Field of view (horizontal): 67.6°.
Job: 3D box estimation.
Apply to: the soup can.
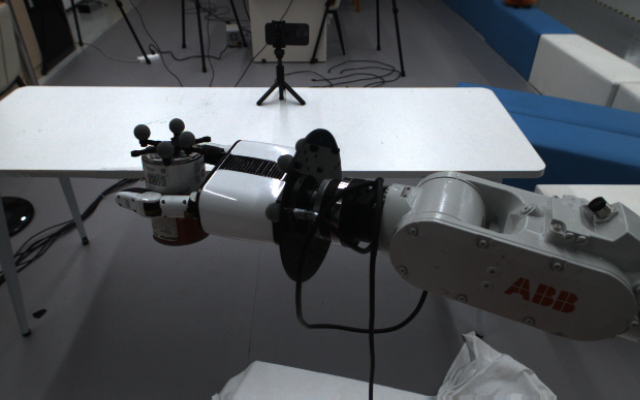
[{"bbox_3d":[-0.160,-0.007,0.551,0.067,0.101,0.067,1,25,0],"label":"soup can"}]
